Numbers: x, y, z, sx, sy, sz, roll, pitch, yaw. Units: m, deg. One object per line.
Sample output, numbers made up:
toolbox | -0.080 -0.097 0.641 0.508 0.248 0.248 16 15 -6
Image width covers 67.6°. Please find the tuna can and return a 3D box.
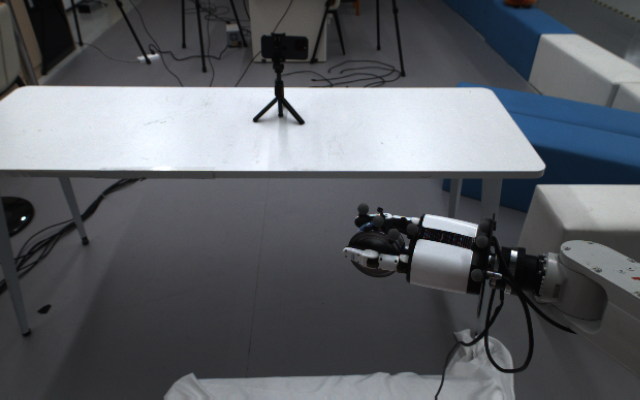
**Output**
tuna can | 0.091 0.075 0.761 0.085 0.085 0.034 16 28 19
